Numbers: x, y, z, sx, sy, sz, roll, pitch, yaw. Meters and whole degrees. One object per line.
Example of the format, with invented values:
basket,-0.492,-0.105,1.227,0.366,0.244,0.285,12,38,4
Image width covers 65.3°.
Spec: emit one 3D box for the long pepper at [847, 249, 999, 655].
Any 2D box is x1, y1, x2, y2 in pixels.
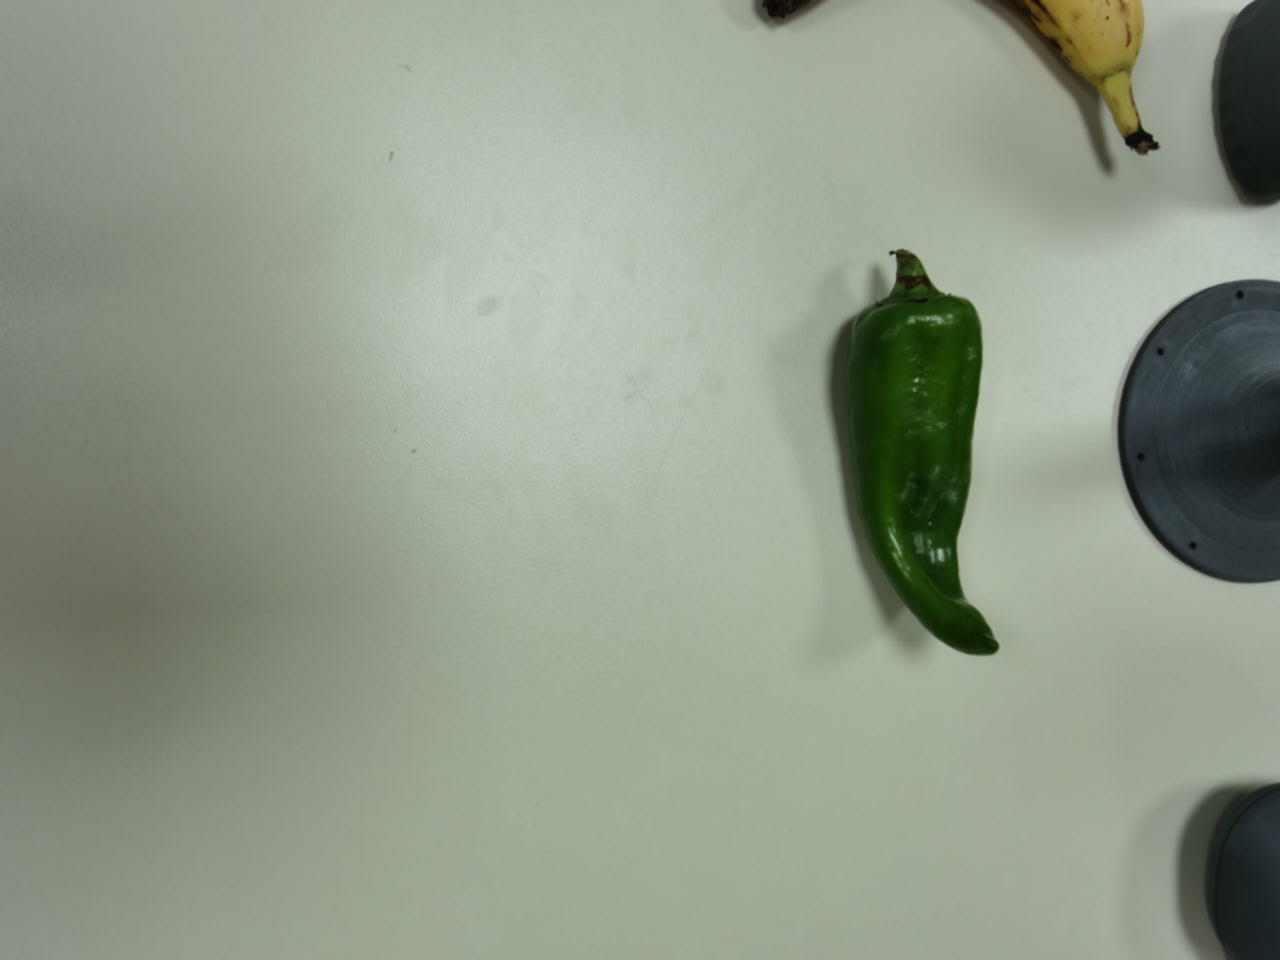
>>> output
long pepper,0.121,-0.014,0.428,0.058,0.065,0.175,-2,91,-11
